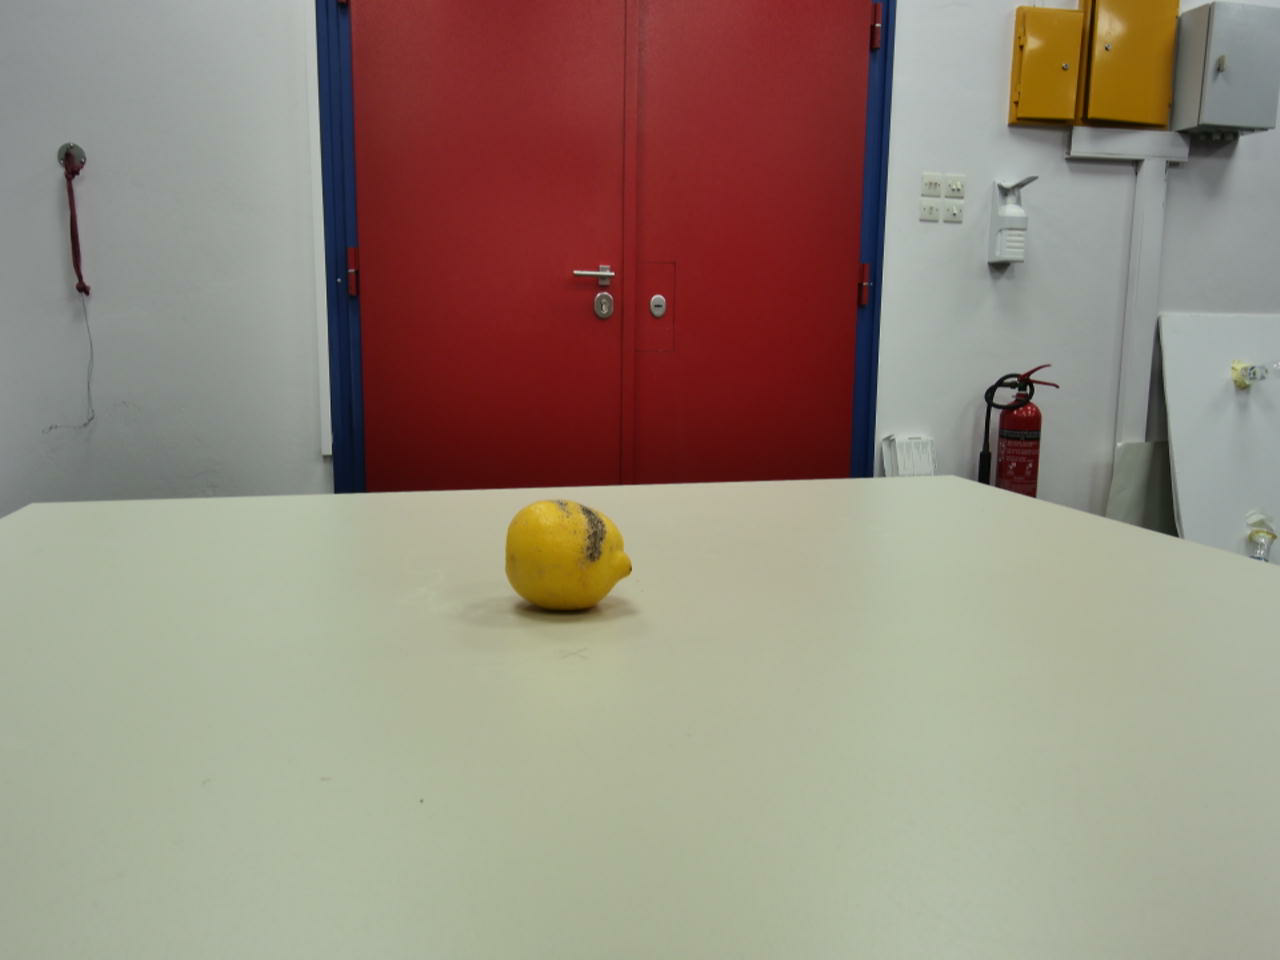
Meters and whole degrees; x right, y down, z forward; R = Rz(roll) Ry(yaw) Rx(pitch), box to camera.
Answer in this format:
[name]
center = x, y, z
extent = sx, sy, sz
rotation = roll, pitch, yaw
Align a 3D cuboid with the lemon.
[lemon]
center = -0.040, 0.039, 0.515
extent = 0.061, 0.056, 0.058
rotation = -2, 7, -21
